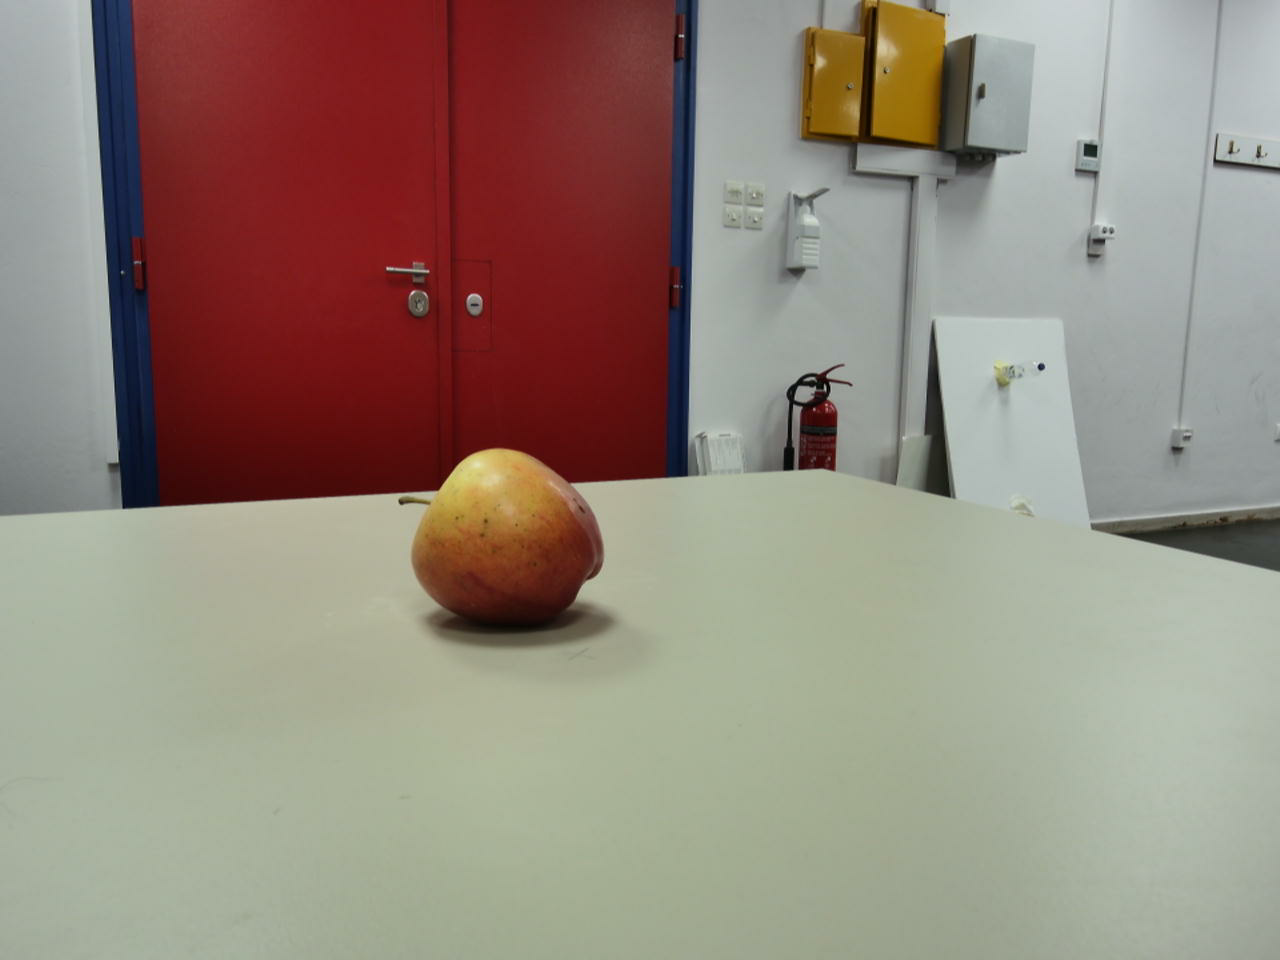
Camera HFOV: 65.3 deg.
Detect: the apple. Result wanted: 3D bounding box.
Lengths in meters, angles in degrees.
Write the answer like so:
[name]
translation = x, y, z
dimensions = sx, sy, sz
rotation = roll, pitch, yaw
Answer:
[apple]
translation = -0.067, 0.028, 0.489
dimensions = 0.093, 0.084, 0.086
rotation = 4, 7, 29
